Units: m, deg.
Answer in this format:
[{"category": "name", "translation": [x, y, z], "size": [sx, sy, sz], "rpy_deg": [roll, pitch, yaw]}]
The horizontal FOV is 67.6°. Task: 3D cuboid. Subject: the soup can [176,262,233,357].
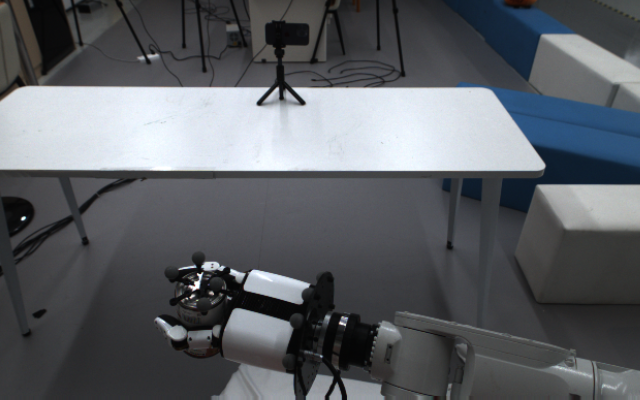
[{"category": "soup can", "translation": [-0.155, 0.154, 0.644], "size": [0.067, 0.101, 0.067], "rpy_deg": [5, 37, -4]}]
